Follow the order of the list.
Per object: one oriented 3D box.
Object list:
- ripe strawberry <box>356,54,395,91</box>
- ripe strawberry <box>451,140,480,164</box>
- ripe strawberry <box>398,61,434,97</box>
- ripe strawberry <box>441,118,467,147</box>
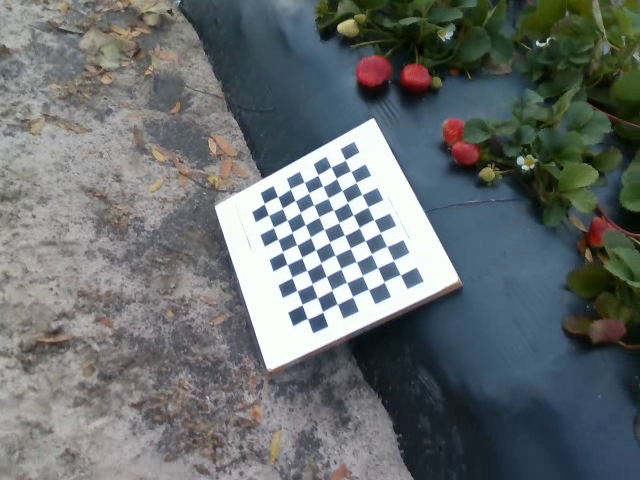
[{"bbox_3d":[0.077,-0.261,1.076,0.058,0.065,0.044,-6,-43,31],"label":"ripe strawberry"},{"bbox_3d":[0.196,-0.131,0.968,0.049,0.044,0.041,7,-48,-40],"label":"ripe strawberry"},{"bbox_3d":[0.142,-0.252,1.069,0.050,0.051,0.059,-12,13,28],"label":"ripe strawberry"},{"bbox_3d":[0.190,-0.161,1.000,0.053,0.047,0.038,39,4,3],"label":"ripe strawberry"}]
